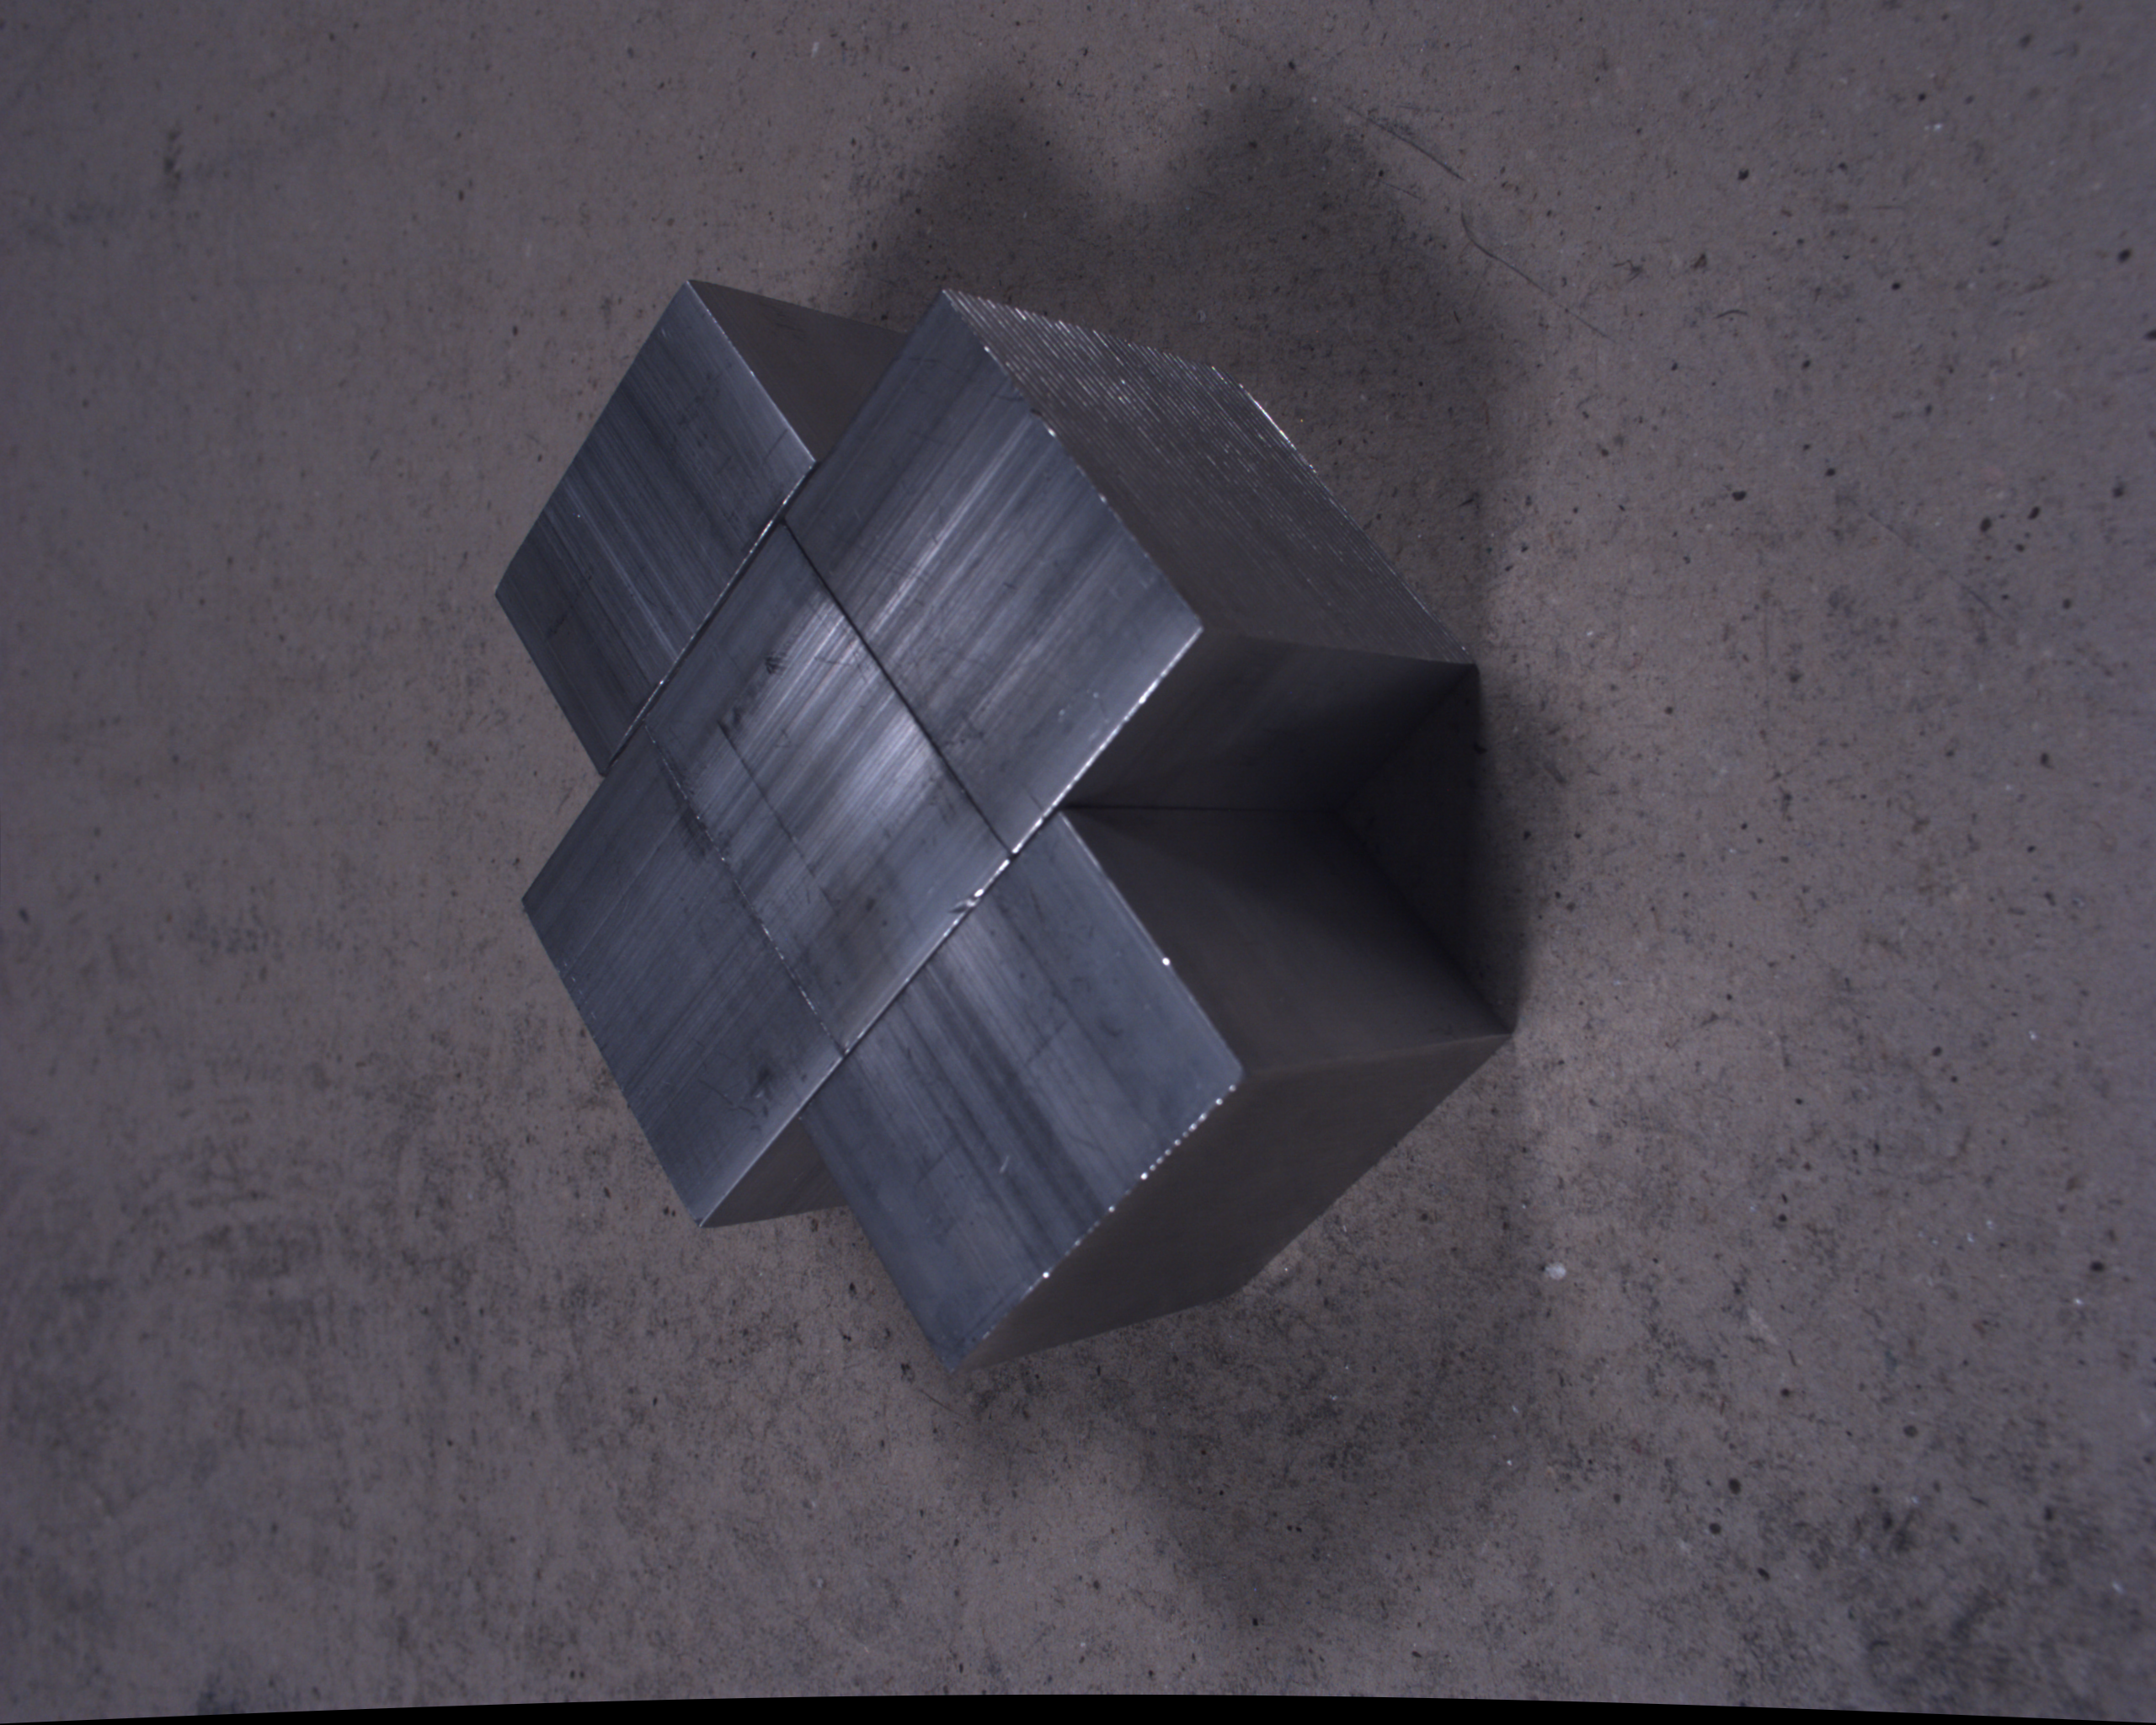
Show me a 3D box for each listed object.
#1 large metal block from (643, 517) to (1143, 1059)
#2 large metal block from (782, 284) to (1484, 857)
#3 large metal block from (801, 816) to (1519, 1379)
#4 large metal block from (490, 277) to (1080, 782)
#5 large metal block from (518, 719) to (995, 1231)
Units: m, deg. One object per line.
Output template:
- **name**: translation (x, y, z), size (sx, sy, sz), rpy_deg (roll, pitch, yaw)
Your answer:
- **large metal block**: translation (-0.019, -0.014, 0.385), size (0.050, 0.081, 0.080), rpy_deg (-50, 61, 28)
- **large metal block**: translation (0.010, -0.047, 0.361), size (0.050, 0.081, 0.080), rpy_deg (-50, 61, 28)
- **large metal block**: translation (0.014, 0.038, 0.358), size (0.080, 0.081, 0.050), rpy_deg (-49, 61, 28)
- **large metal block**: translation (-0.055, -0.060, 0.414), size (0.080, 0.081, 0.050), rpy_deg (-49, 61, 28)
- **large metal block**: translation (-0.048, 0.020, 0.409), size (0.050, 0.081, 0.080), rpy_deg (-50, 61, 28)
